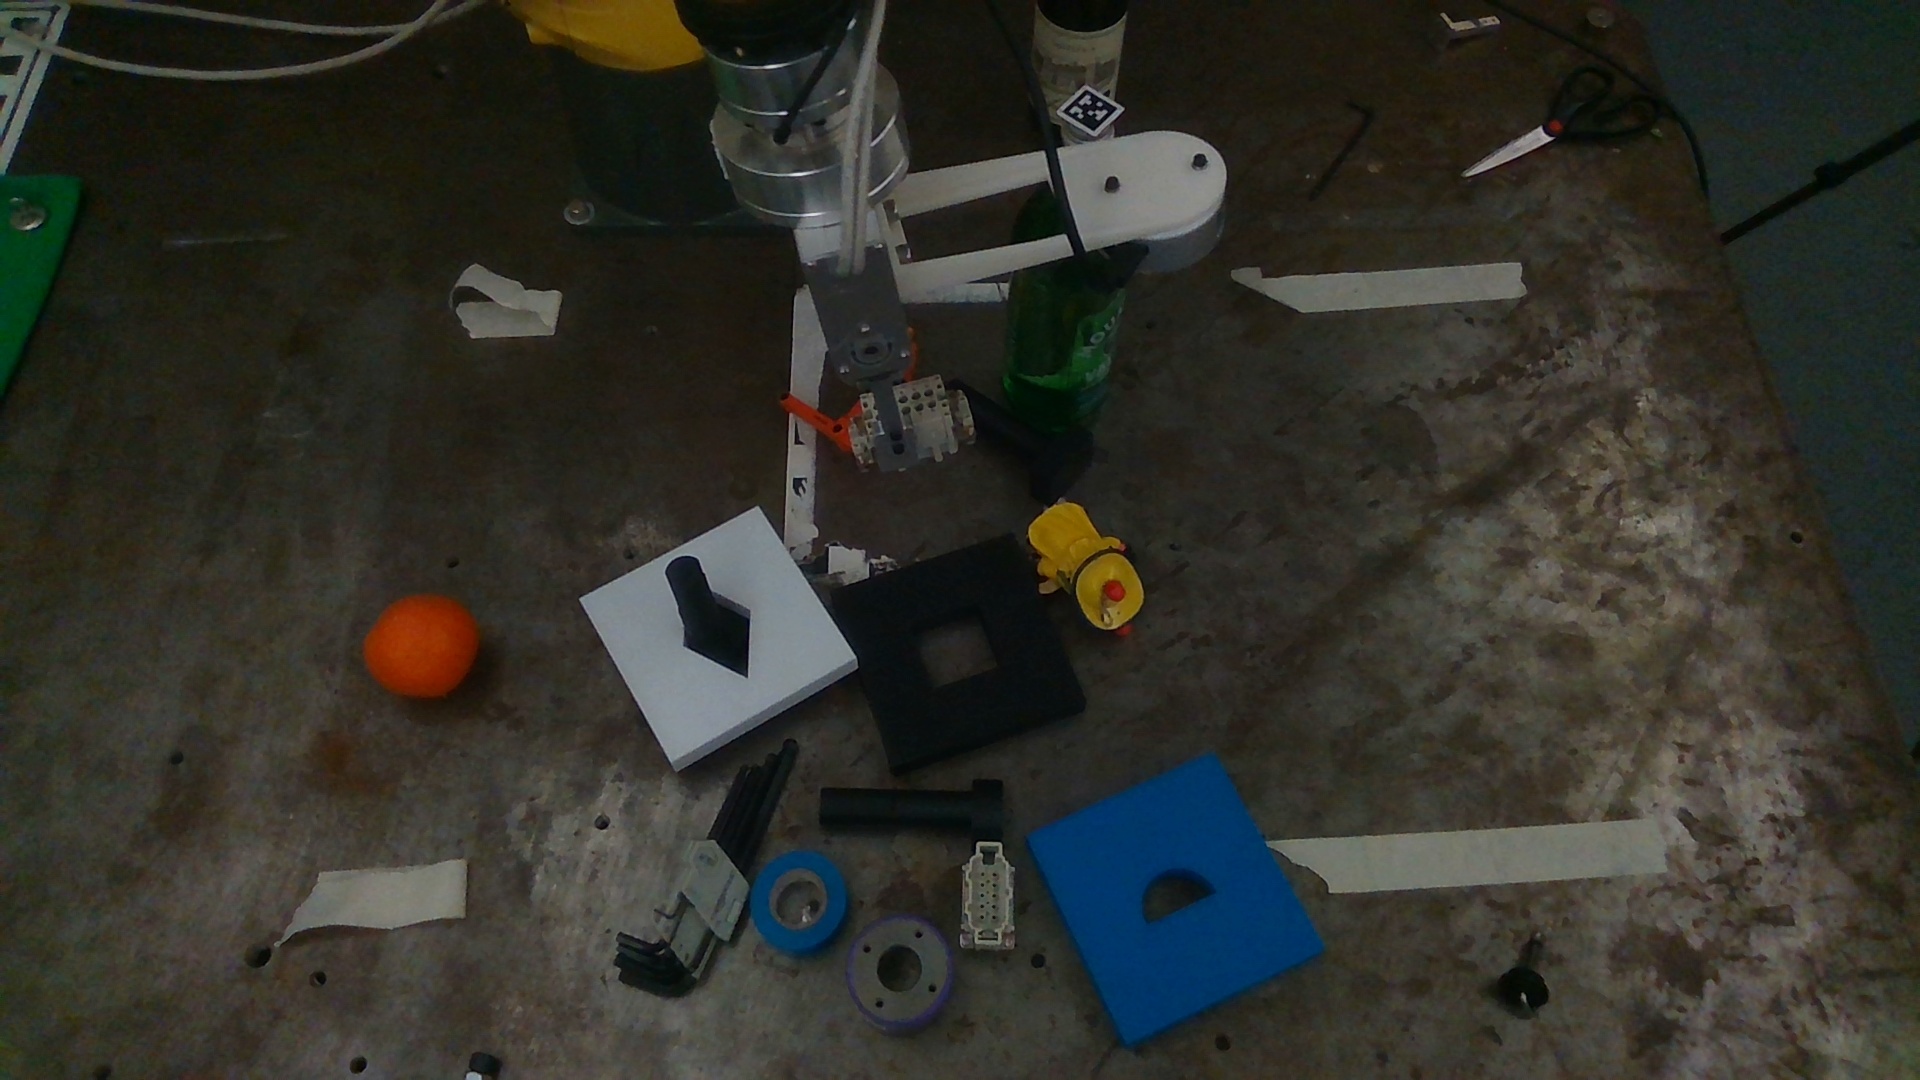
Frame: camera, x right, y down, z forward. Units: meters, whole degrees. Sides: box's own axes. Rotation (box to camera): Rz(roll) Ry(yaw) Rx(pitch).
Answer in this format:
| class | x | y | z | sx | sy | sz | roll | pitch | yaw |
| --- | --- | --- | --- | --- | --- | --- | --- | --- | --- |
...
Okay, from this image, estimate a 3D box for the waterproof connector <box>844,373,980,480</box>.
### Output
| class | x | y | z | sx | sy | sz | roll | pitch | yaw |
| --- | --- | --- | --- | --- | --- | --- | --- | --- | --- |
| waterproof connector | -0.026 | -0.058 | 0.728 | 0.069 | 0.038 | 0.037 | -17 | 57 | 2 |
